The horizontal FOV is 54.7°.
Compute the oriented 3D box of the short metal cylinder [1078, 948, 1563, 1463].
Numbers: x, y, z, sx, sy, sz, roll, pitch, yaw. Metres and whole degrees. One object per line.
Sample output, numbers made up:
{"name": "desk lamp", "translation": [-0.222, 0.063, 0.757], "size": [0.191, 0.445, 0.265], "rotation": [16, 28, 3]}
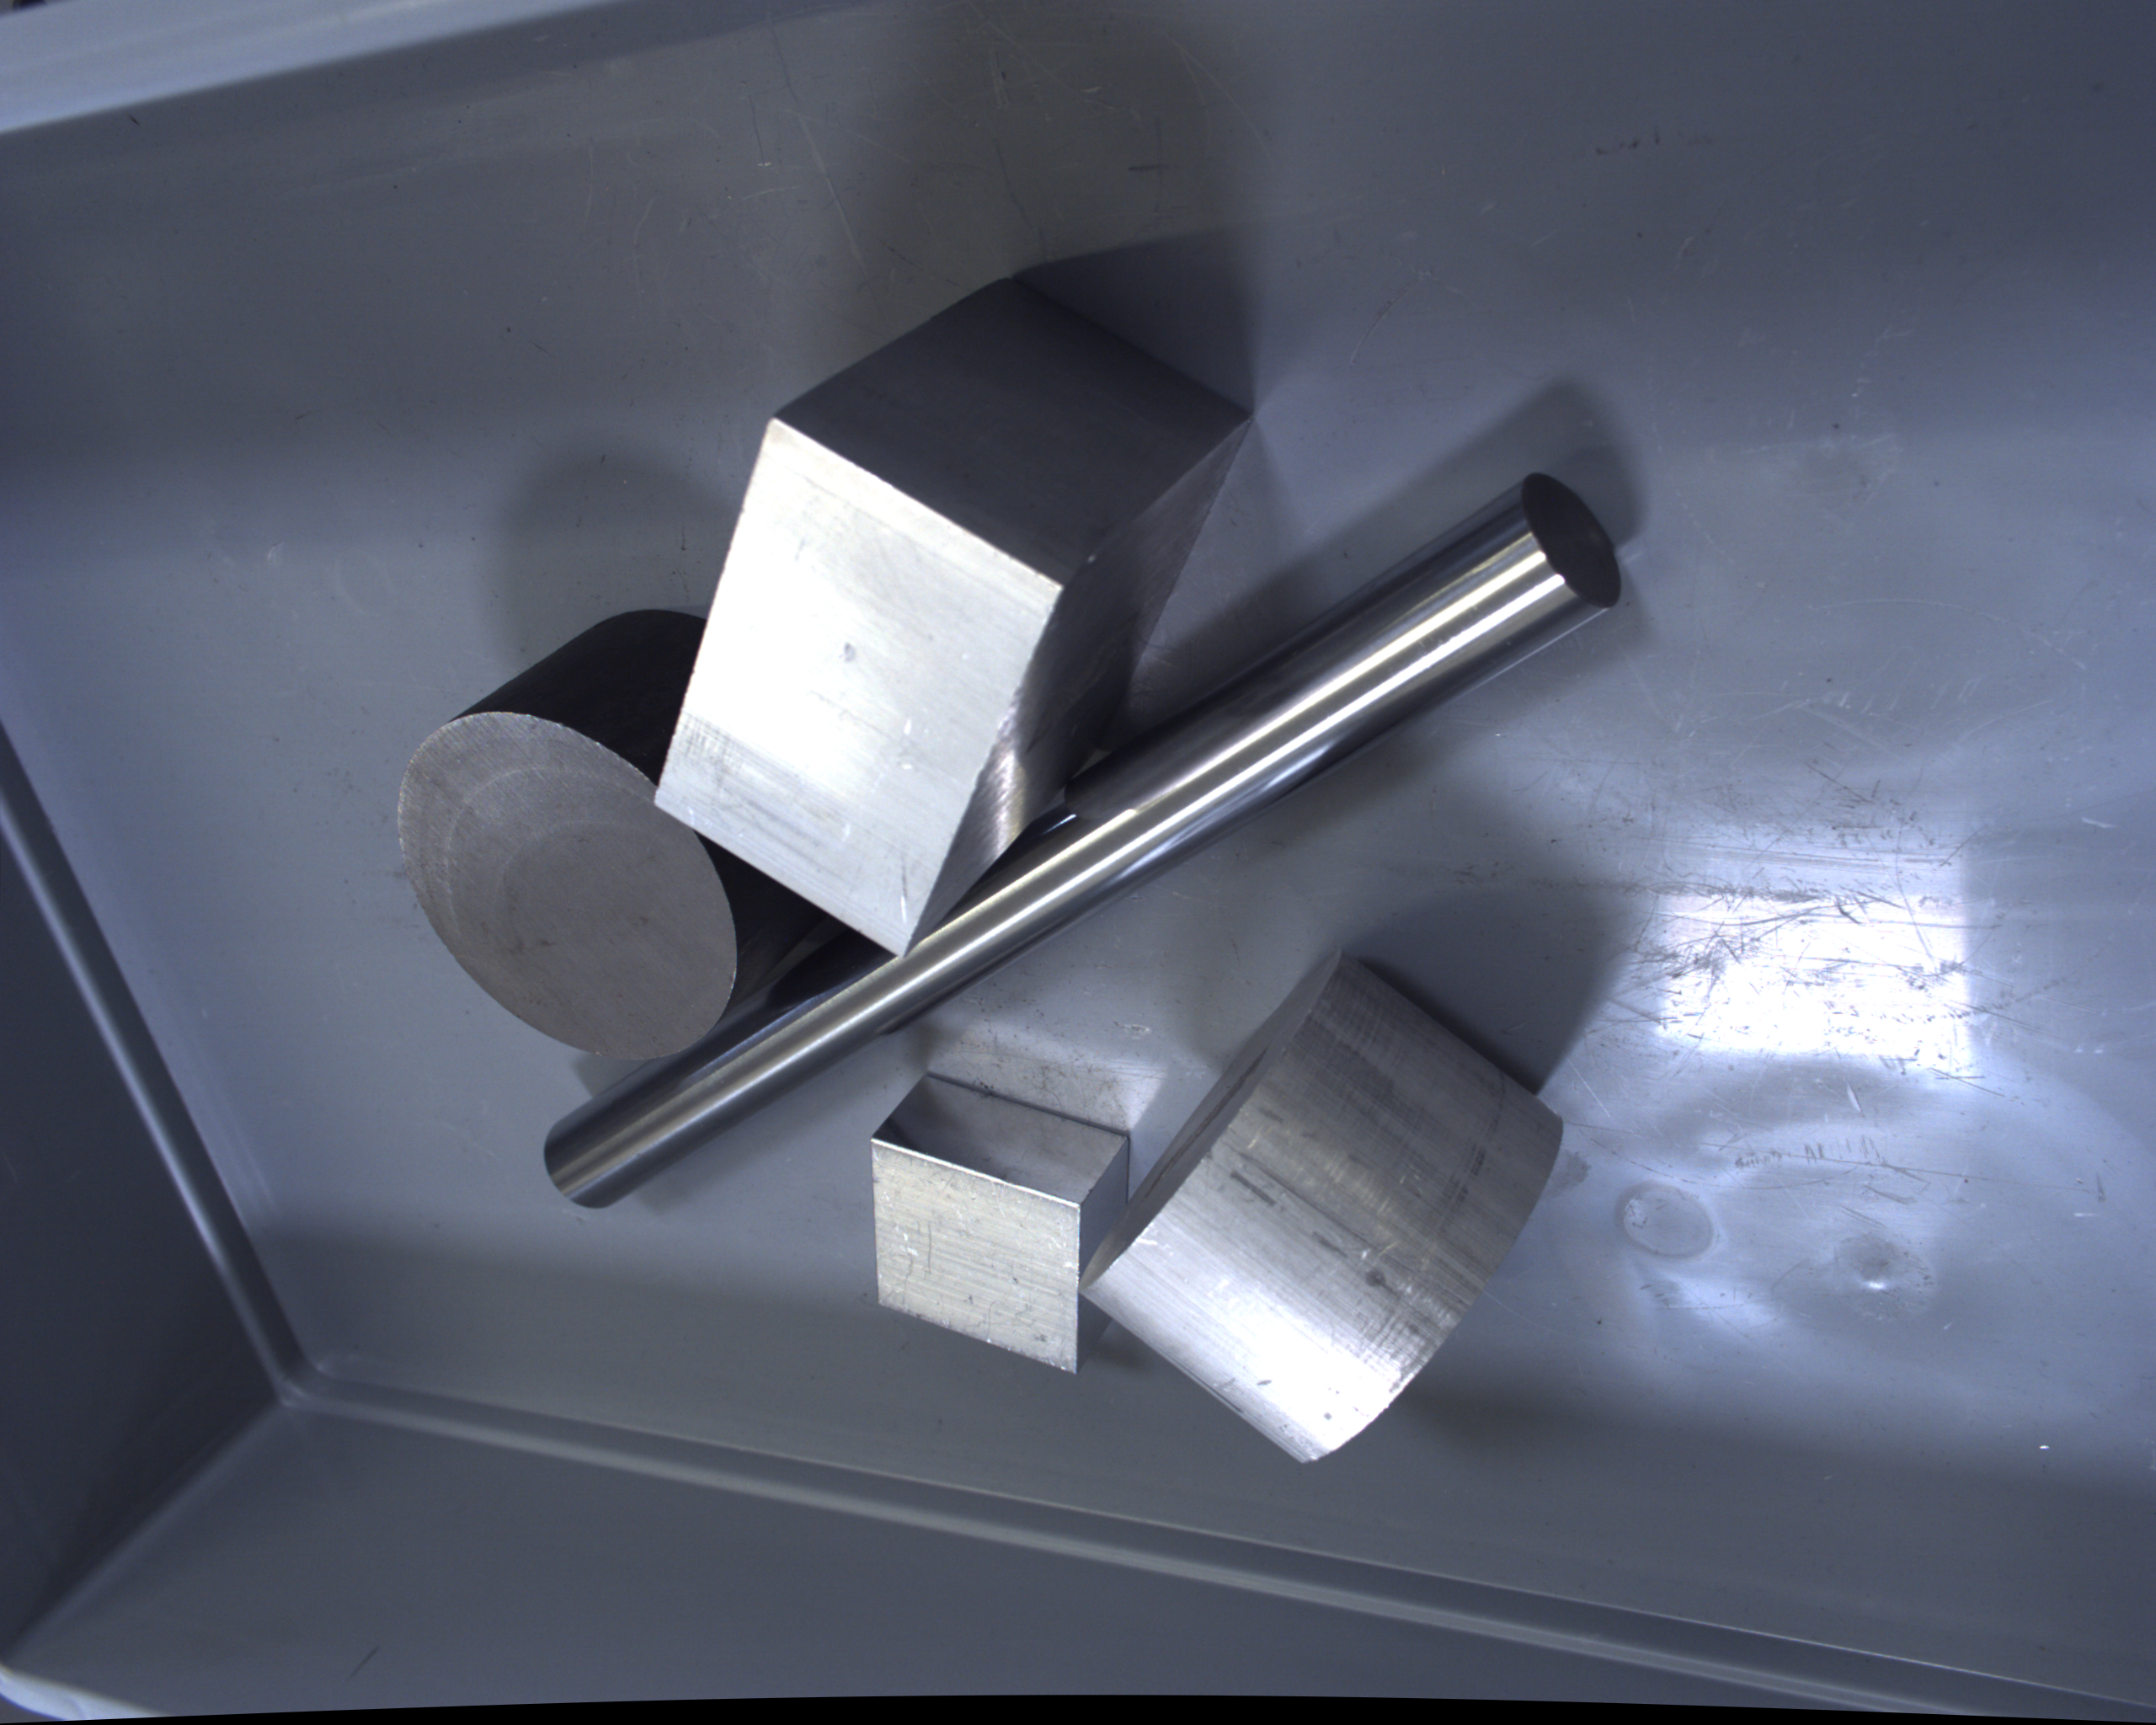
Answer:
{"name": "short metal cylinder", "translation": [0.044, 0.063, 0.387], "size": [0.050, 0.080, 0.080], "rotation": [37, 129, 3]}

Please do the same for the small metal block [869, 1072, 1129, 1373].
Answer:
{"name": "small metal block", "translation": [-0.017, 0.080, 0.465], "size": [0.050, 0.025, 0.050], "rotation": [14, 124, 20]}

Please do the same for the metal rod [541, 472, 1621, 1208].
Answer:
{"name": "metal rod", "translation": [-0.021, 0.011, 0.425], "size": [0.299, 0.025, 0.025], "rotation": [-32, 101, 38]}

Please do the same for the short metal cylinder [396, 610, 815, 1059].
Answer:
{"name": "short metal cylinder", "translation": [-0.093, -0.006, 0.435], "size": [0.080, 0.050, 0.079], "rotation": [13, 124, 21]}

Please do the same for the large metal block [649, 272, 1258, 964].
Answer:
{"name": "large metal block", "translation": [-0.021, -0.043, 0.355], "size": [0.050, 0.080, 0.079], "rotation": [32, 129, 7]}
